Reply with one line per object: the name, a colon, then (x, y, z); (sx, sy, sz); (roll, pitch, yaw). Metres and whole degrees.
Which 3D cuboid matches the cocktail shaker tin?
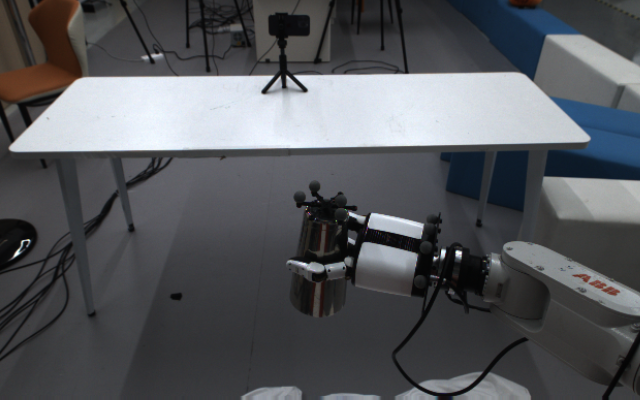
cocktail shaker tin: (0.003, 0.086, 0.748); (0.093, 0.170, 0.093); (4, 32, -2)
